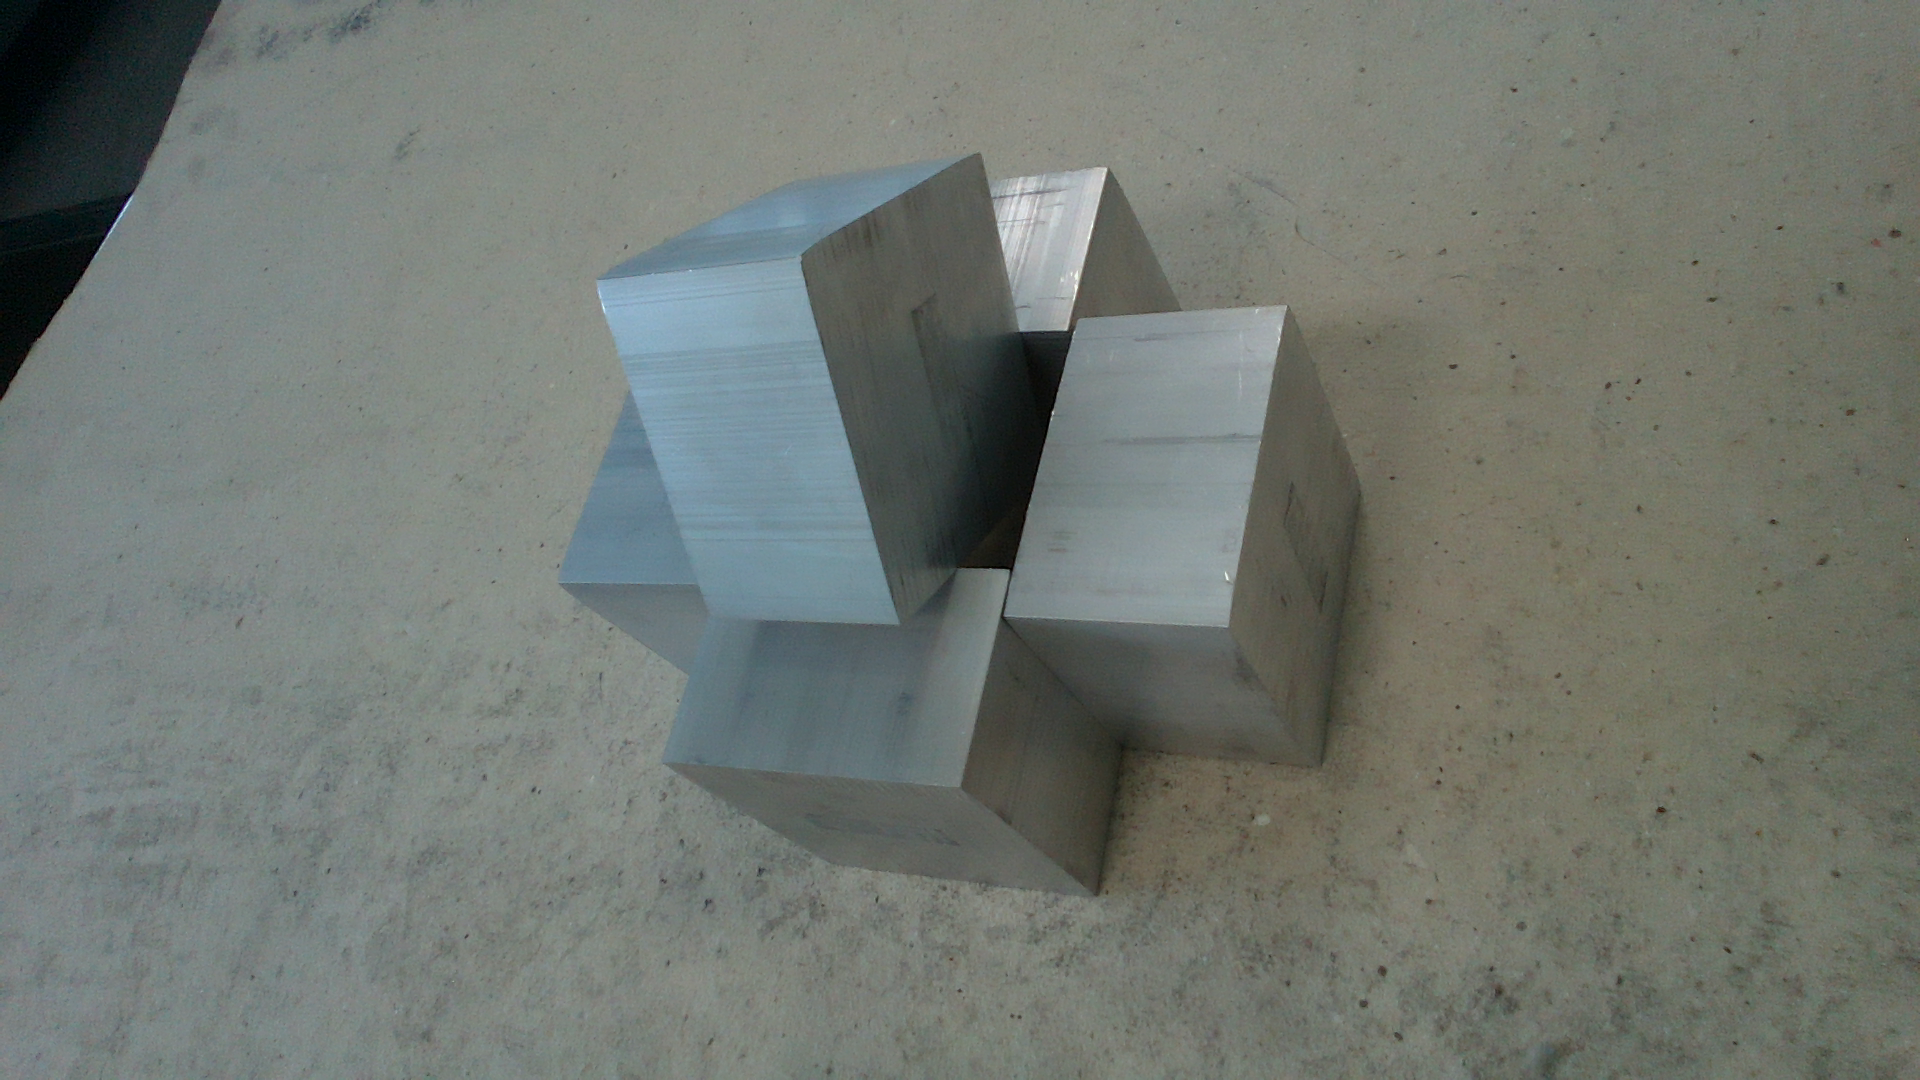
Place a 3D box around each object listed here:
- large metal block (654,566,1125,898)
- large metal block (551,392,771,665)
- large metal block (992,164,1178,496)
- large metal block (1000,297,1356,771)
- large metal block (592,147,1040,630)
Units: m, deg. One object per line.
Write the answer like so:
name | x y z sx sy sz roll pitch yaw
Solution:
large metal block | -0.012 0.047 0.336 0.080 0.080 0.050 0 61 28
large metal block | -0.058 -0.006 0.392 0.050 0.080 0.080 0 61 29
large metal block | 0.014 -0.054 0.385 0.080 0.080 0.050 1 62 29
large metal block | 0.057 0.001 0.327 0.050 0.080 0.080 1 62 29
large metal block | -0.025 -0.036 0.309 0.050 0.080 0.080 1 28 29
